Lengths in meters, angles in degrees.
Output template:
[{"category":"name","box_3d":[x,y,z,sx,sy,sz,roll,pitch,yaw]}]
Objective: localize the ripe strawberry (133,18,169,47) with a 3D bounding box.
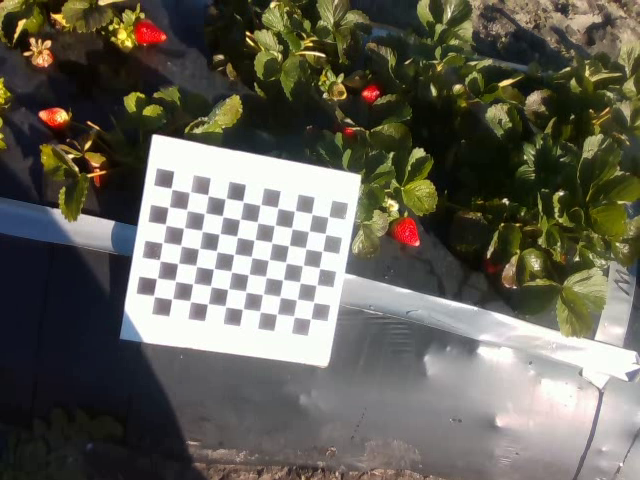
[{"category":"ripe strawberry","box_3d":[-0.286,-0.347,1.008,0.064,0.050,0.052,17,1,1]}]

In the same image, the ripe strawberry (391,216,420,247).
[{"category":"ripe strawberry","box_3d":[0.135,-0.009,0.912,0.048,0.055,0.029,-36,7,-5]}]
